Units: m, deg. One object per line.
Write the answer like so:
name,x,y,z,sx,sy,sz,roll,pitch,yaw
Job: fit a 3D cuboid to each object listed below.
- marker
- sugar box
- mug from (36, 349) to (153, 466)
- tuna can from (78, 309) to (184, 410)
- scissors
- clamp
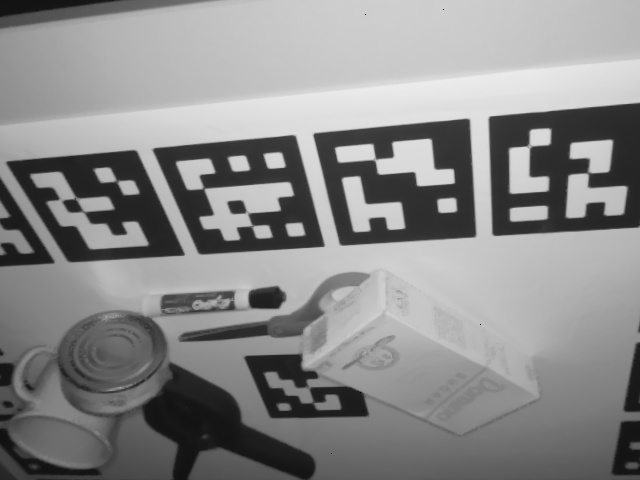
marker,-0.066,0.043,0.577,0.120,0.020,0.019,-9,126,14
sugar box,0.094,0.088,0.570,0.178,0.046,0.091,32,127,-25
mug,-0.206,0.143,0.641,0.092,0.082,0.118,-30,123,28
tuna can,-0.161,0.100,0.593,0.086,0.086,0.033,8,130,2
scissors,-0.013,0.071,0.591,0.201,0.016,0.087,-14,130,20
clamp,-0.094,0.185,0.700,0.164,0.037,0.202,-15,125,19
